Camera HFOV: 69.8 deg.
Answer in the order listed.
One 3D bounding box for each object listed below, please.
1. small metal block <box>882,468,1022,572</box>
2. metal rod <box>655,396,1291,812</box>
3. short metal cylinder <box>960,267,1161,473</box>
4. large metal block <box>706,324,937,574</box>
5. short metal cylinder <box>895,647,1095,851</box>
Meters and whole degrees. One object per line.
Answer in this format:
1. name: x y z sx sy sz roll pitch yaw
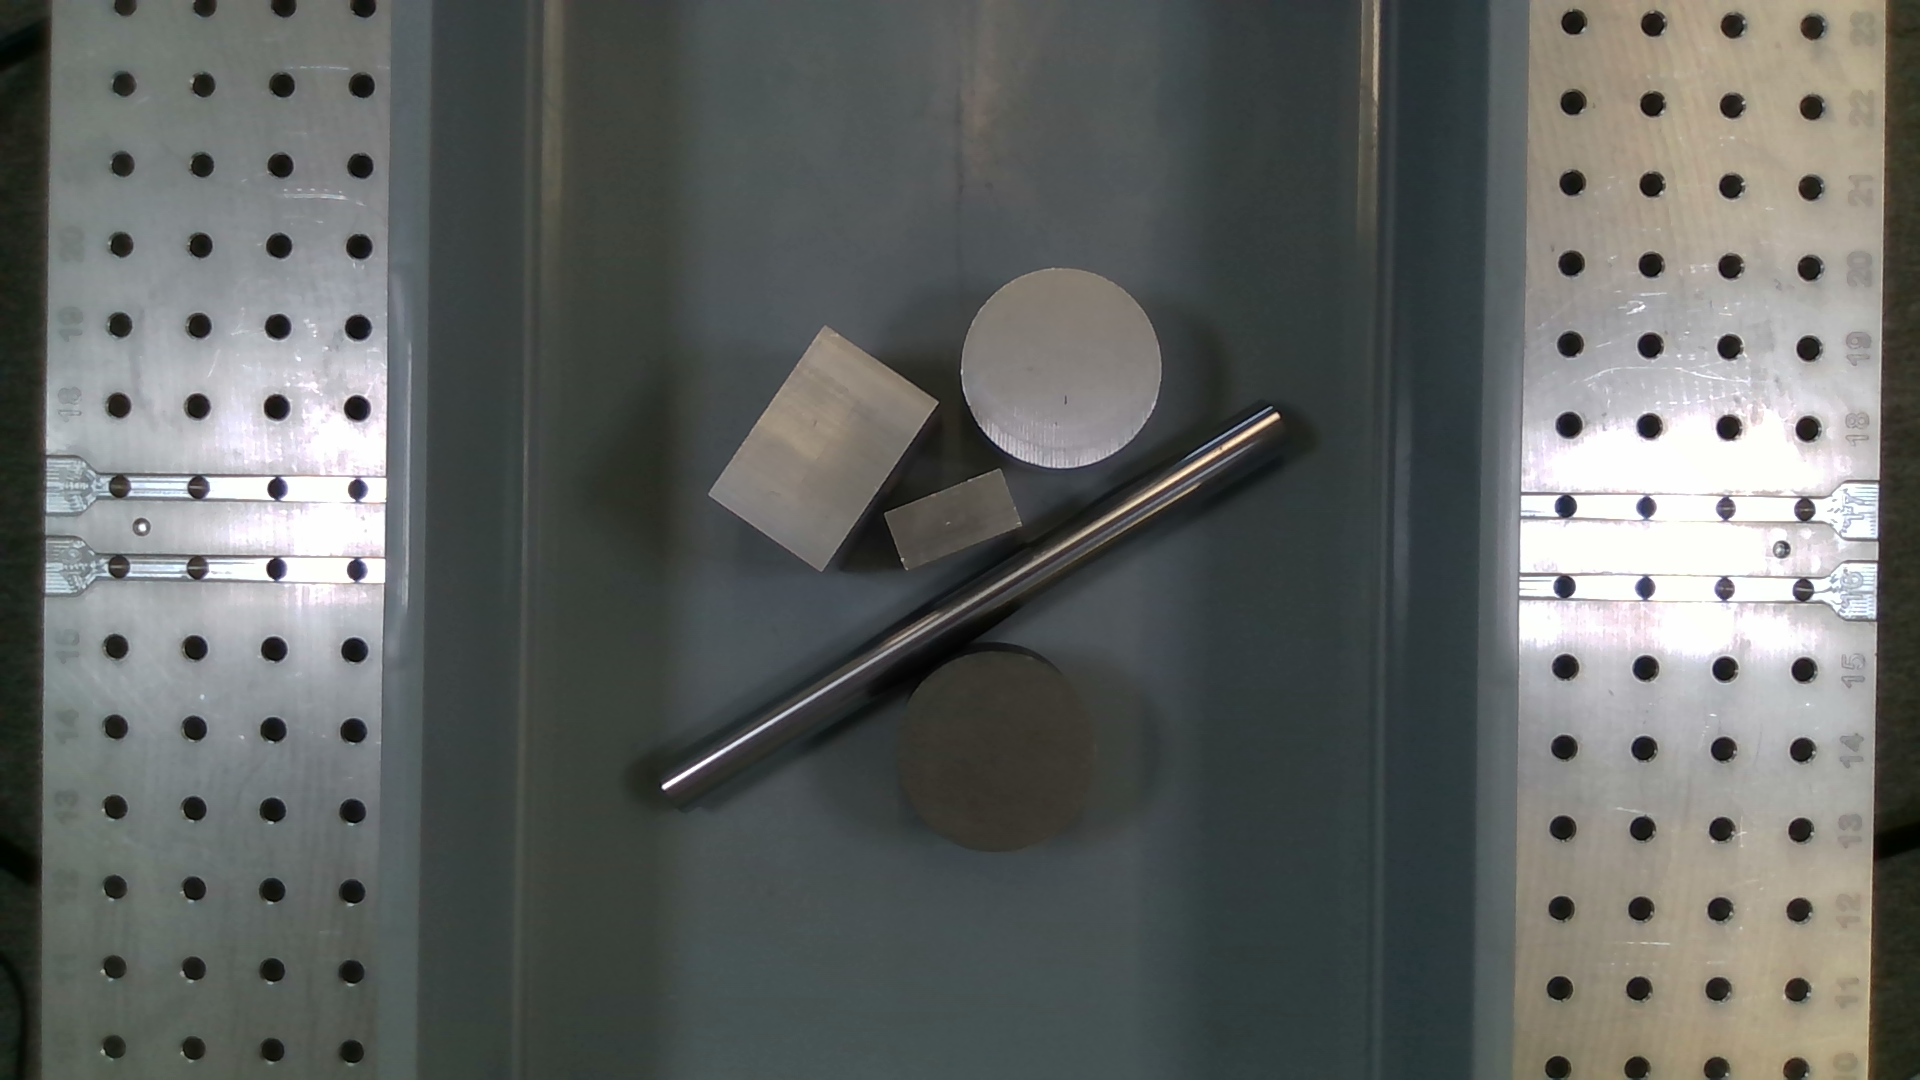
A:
1. small metal block: -0.003 -0.008 0.573 0.050 0.050 0.025 -21 90 0
2. metal rod: 0.005 0.027 0.586 0.300 0.025 0.025 -31 90 0
3. short metal cylinder: 0.040 -0.069 0.573 0.080 0.050 0.080 0 90 0
4. large metal block: -0.052 -0.034 0.557 0.050 0.080 0.080 34 90 1
5. short metal cylinder: 0.014 0.084 0.574 0.080 0.050 0.080 0 90 0
